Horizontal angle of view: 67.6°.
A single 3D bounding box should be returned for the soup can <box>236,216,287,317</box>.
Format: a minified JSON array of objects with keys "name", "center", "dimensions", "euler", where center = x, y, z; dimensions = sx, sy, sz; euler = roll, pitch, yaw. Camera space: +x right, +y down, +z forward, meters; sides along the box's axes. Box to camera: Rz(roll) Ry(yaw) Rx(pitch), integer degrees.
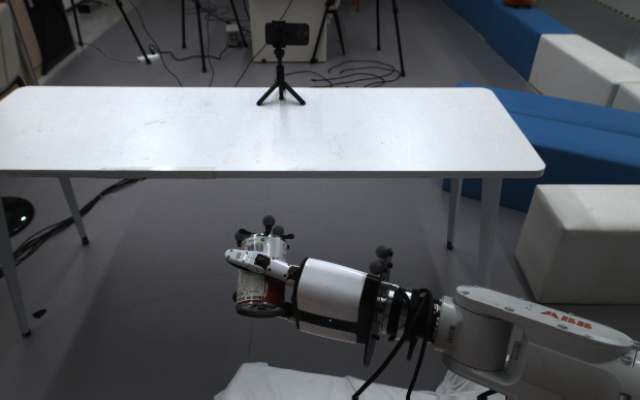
[{"name":"soup can","center":[-0.078,0.107,0.673],"dimensions":[0.067,0.067,0.101],"euler":[0,61,-3]}]
